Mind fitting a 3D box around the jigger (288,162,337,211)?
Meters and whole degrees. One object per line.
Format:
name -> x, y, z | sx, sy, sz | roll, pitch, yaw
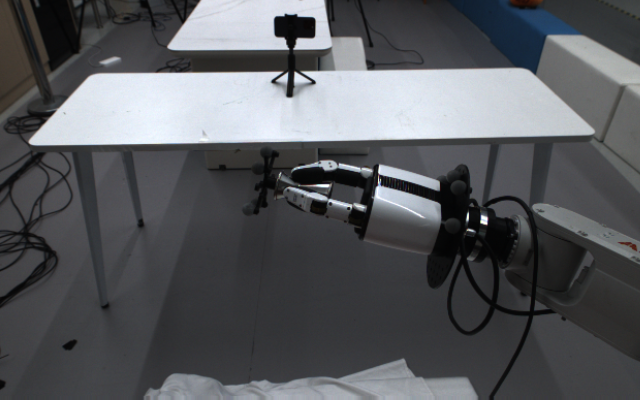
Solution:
jigger -> -0.014, -0.013, 0.618 | 0.071, 0.043, 0.043 | 14, 36, 4
